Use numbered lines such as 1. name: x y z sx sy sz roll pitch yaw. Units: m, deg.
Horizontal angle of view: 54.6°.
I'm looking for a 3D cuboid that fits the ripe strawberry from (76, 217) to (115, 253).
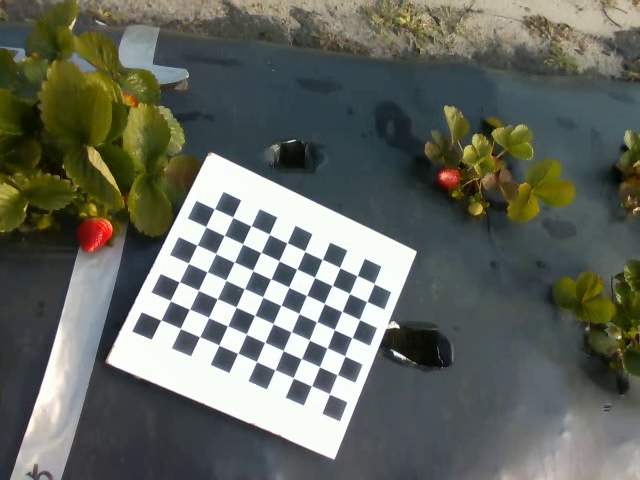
1. ripe strawberry: -0.241 -0.003 0.655 0.050 0.055 0.035 21 -31 -14
